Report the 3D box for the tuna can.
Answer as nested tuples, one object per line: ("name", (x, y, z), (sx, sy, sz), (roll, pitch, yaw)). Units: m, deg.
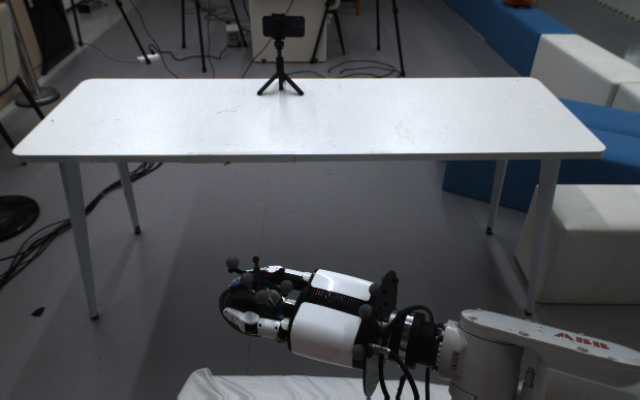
("tuna can", (-0.092, 0.147, 0.670), (0.085, 0.085, 0.034), (13, 30, 15))
